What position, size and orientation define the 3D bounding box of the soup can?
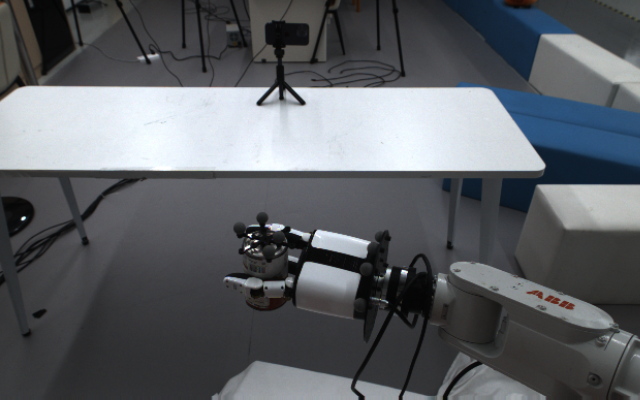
[{"bbox_3d":[-0.078,0.105,0.711,0.067,0.101,0.067,2,32,-1],"label":"soup can"}]
